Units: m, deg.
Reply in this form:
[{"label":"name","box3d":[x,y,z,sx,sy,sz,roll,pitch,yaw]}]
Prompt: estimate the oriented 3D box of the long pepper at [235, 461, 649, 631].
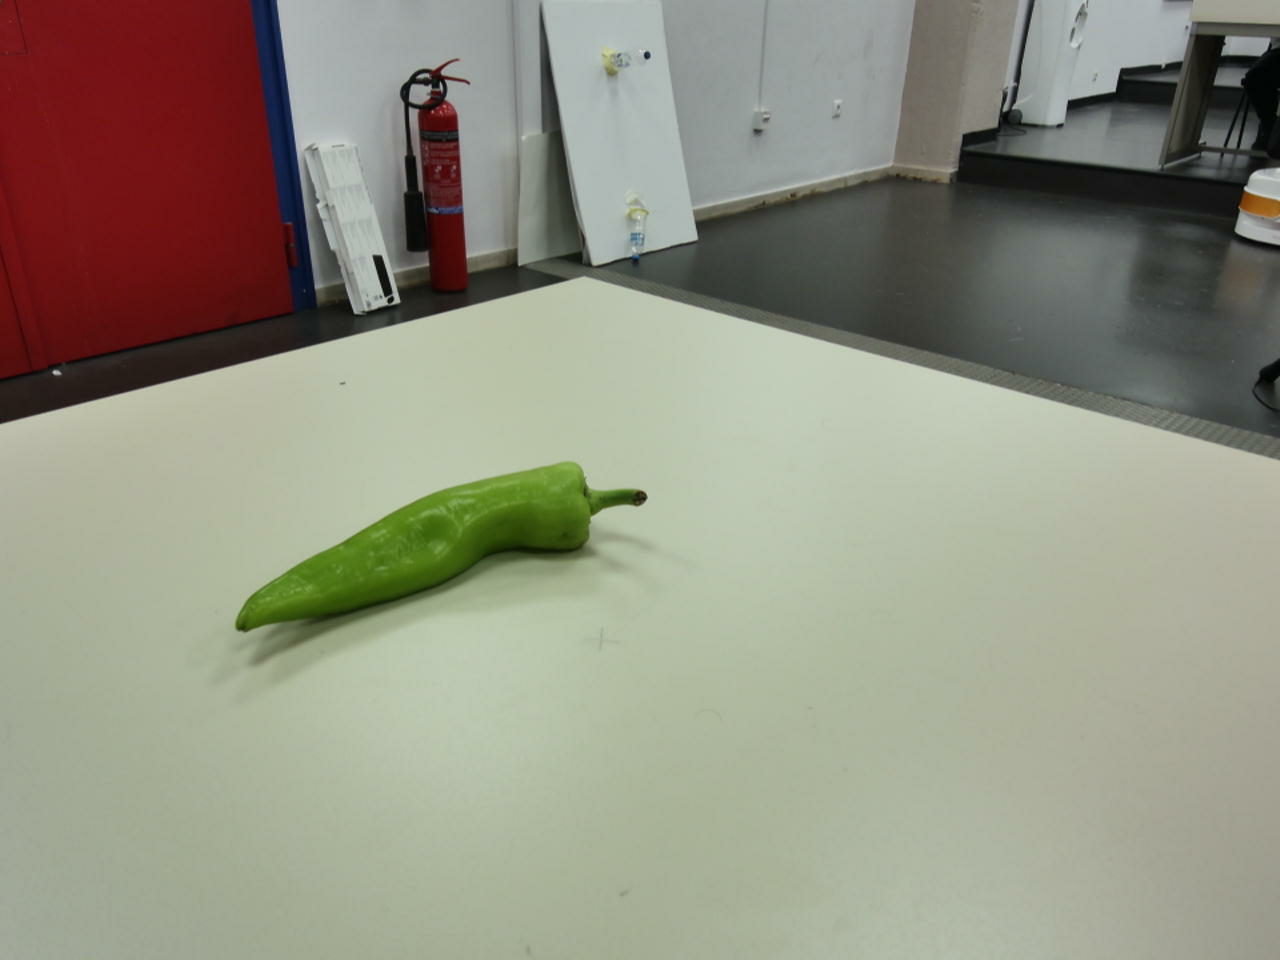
[{"label":"long pepper","box3d":[-0.098,0.029,0.493,0.204,0.045,0.065,-15,29,-30]}]
